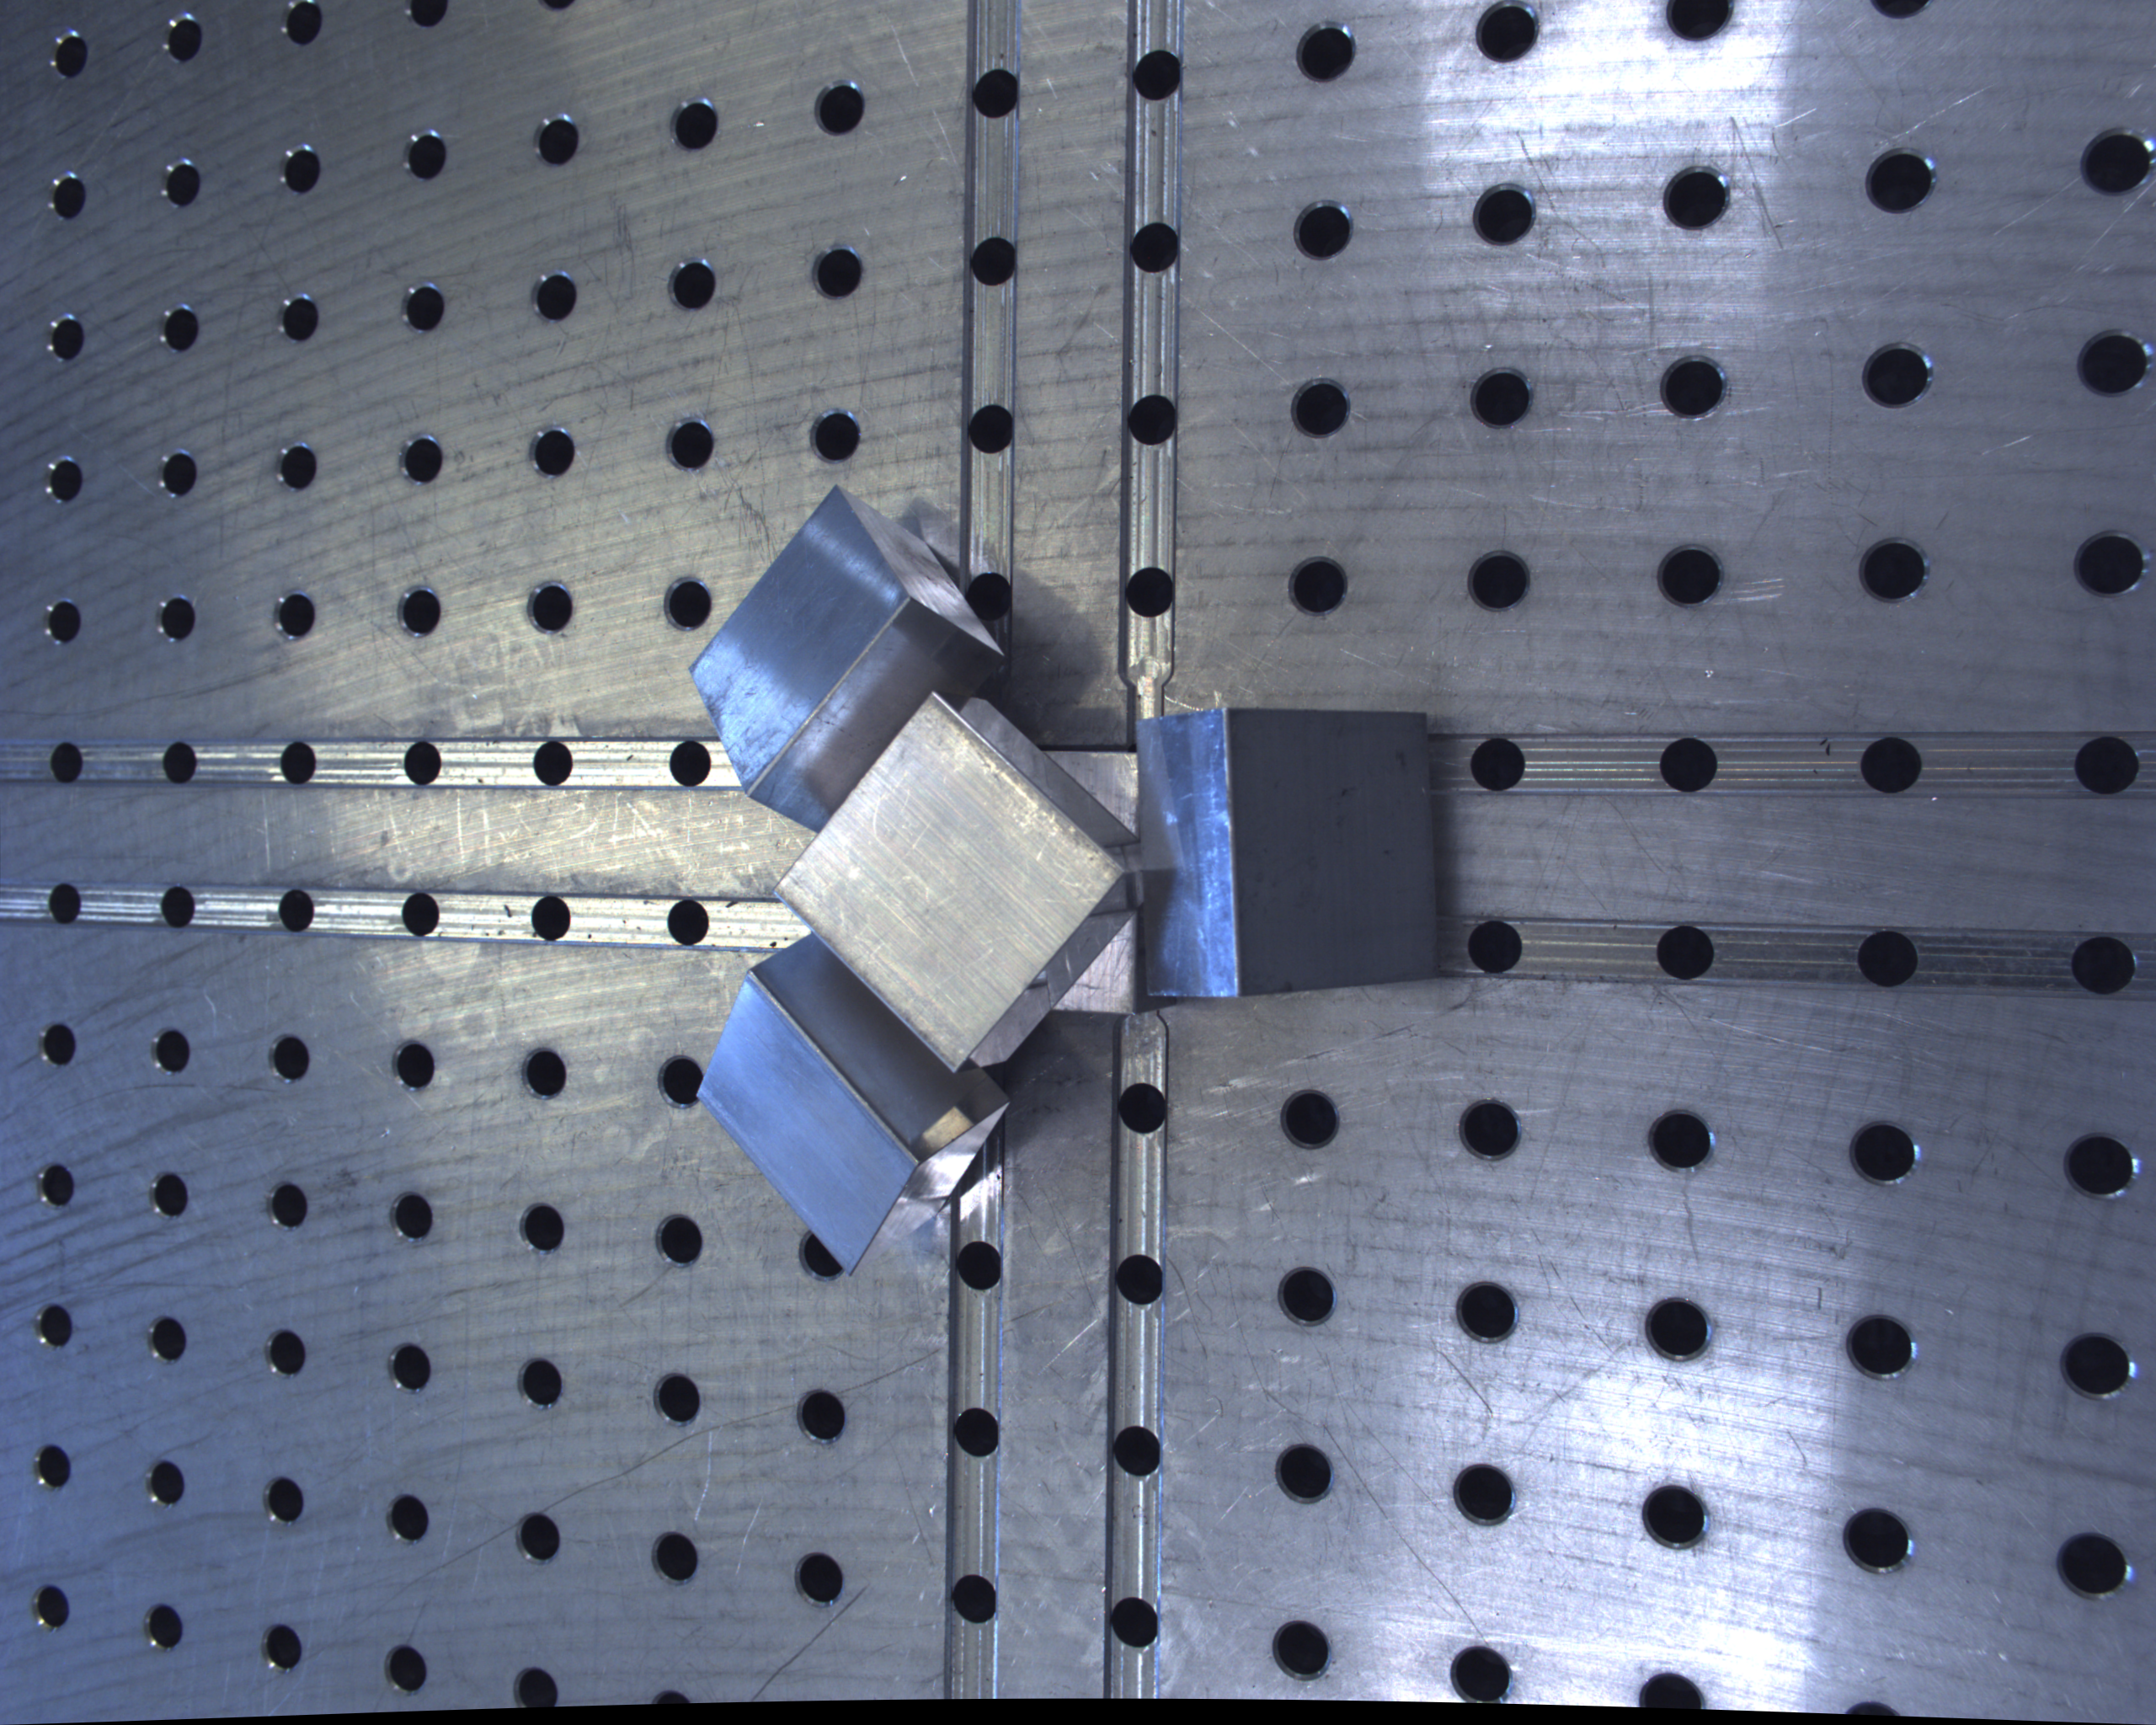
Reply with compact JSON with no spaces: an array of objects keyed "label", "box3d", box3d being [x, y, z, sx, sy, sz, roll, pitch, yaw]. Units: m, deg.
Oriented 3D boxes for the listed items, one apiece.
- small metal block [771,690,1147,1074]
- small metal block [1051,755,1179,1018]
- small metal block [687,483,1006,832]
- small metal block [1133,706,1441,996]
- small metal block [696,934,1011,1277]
[{"label":"small metal block","box3d":[-0.020,0.003,0.393,0.050,0.025,0.050,43,103,14]},{"label":"small metal block","box3d":[-0.007,0.003,0.416,0.050,0.025,0.050,2,93,20]},{"label":"small metal block","box3d":[-0.047,-0.040,0.417,0.050,0.025,0.050,-48,40,13]},{"label":"small metal block","box3d":[0.039,-0.002,0.383,0.025,0.050,0.050,-4,88,53]},{"label":"small metal block","box3d":[-0.046,0.047,0.416,0.050,0.025,0.050,47,142,14]}]
